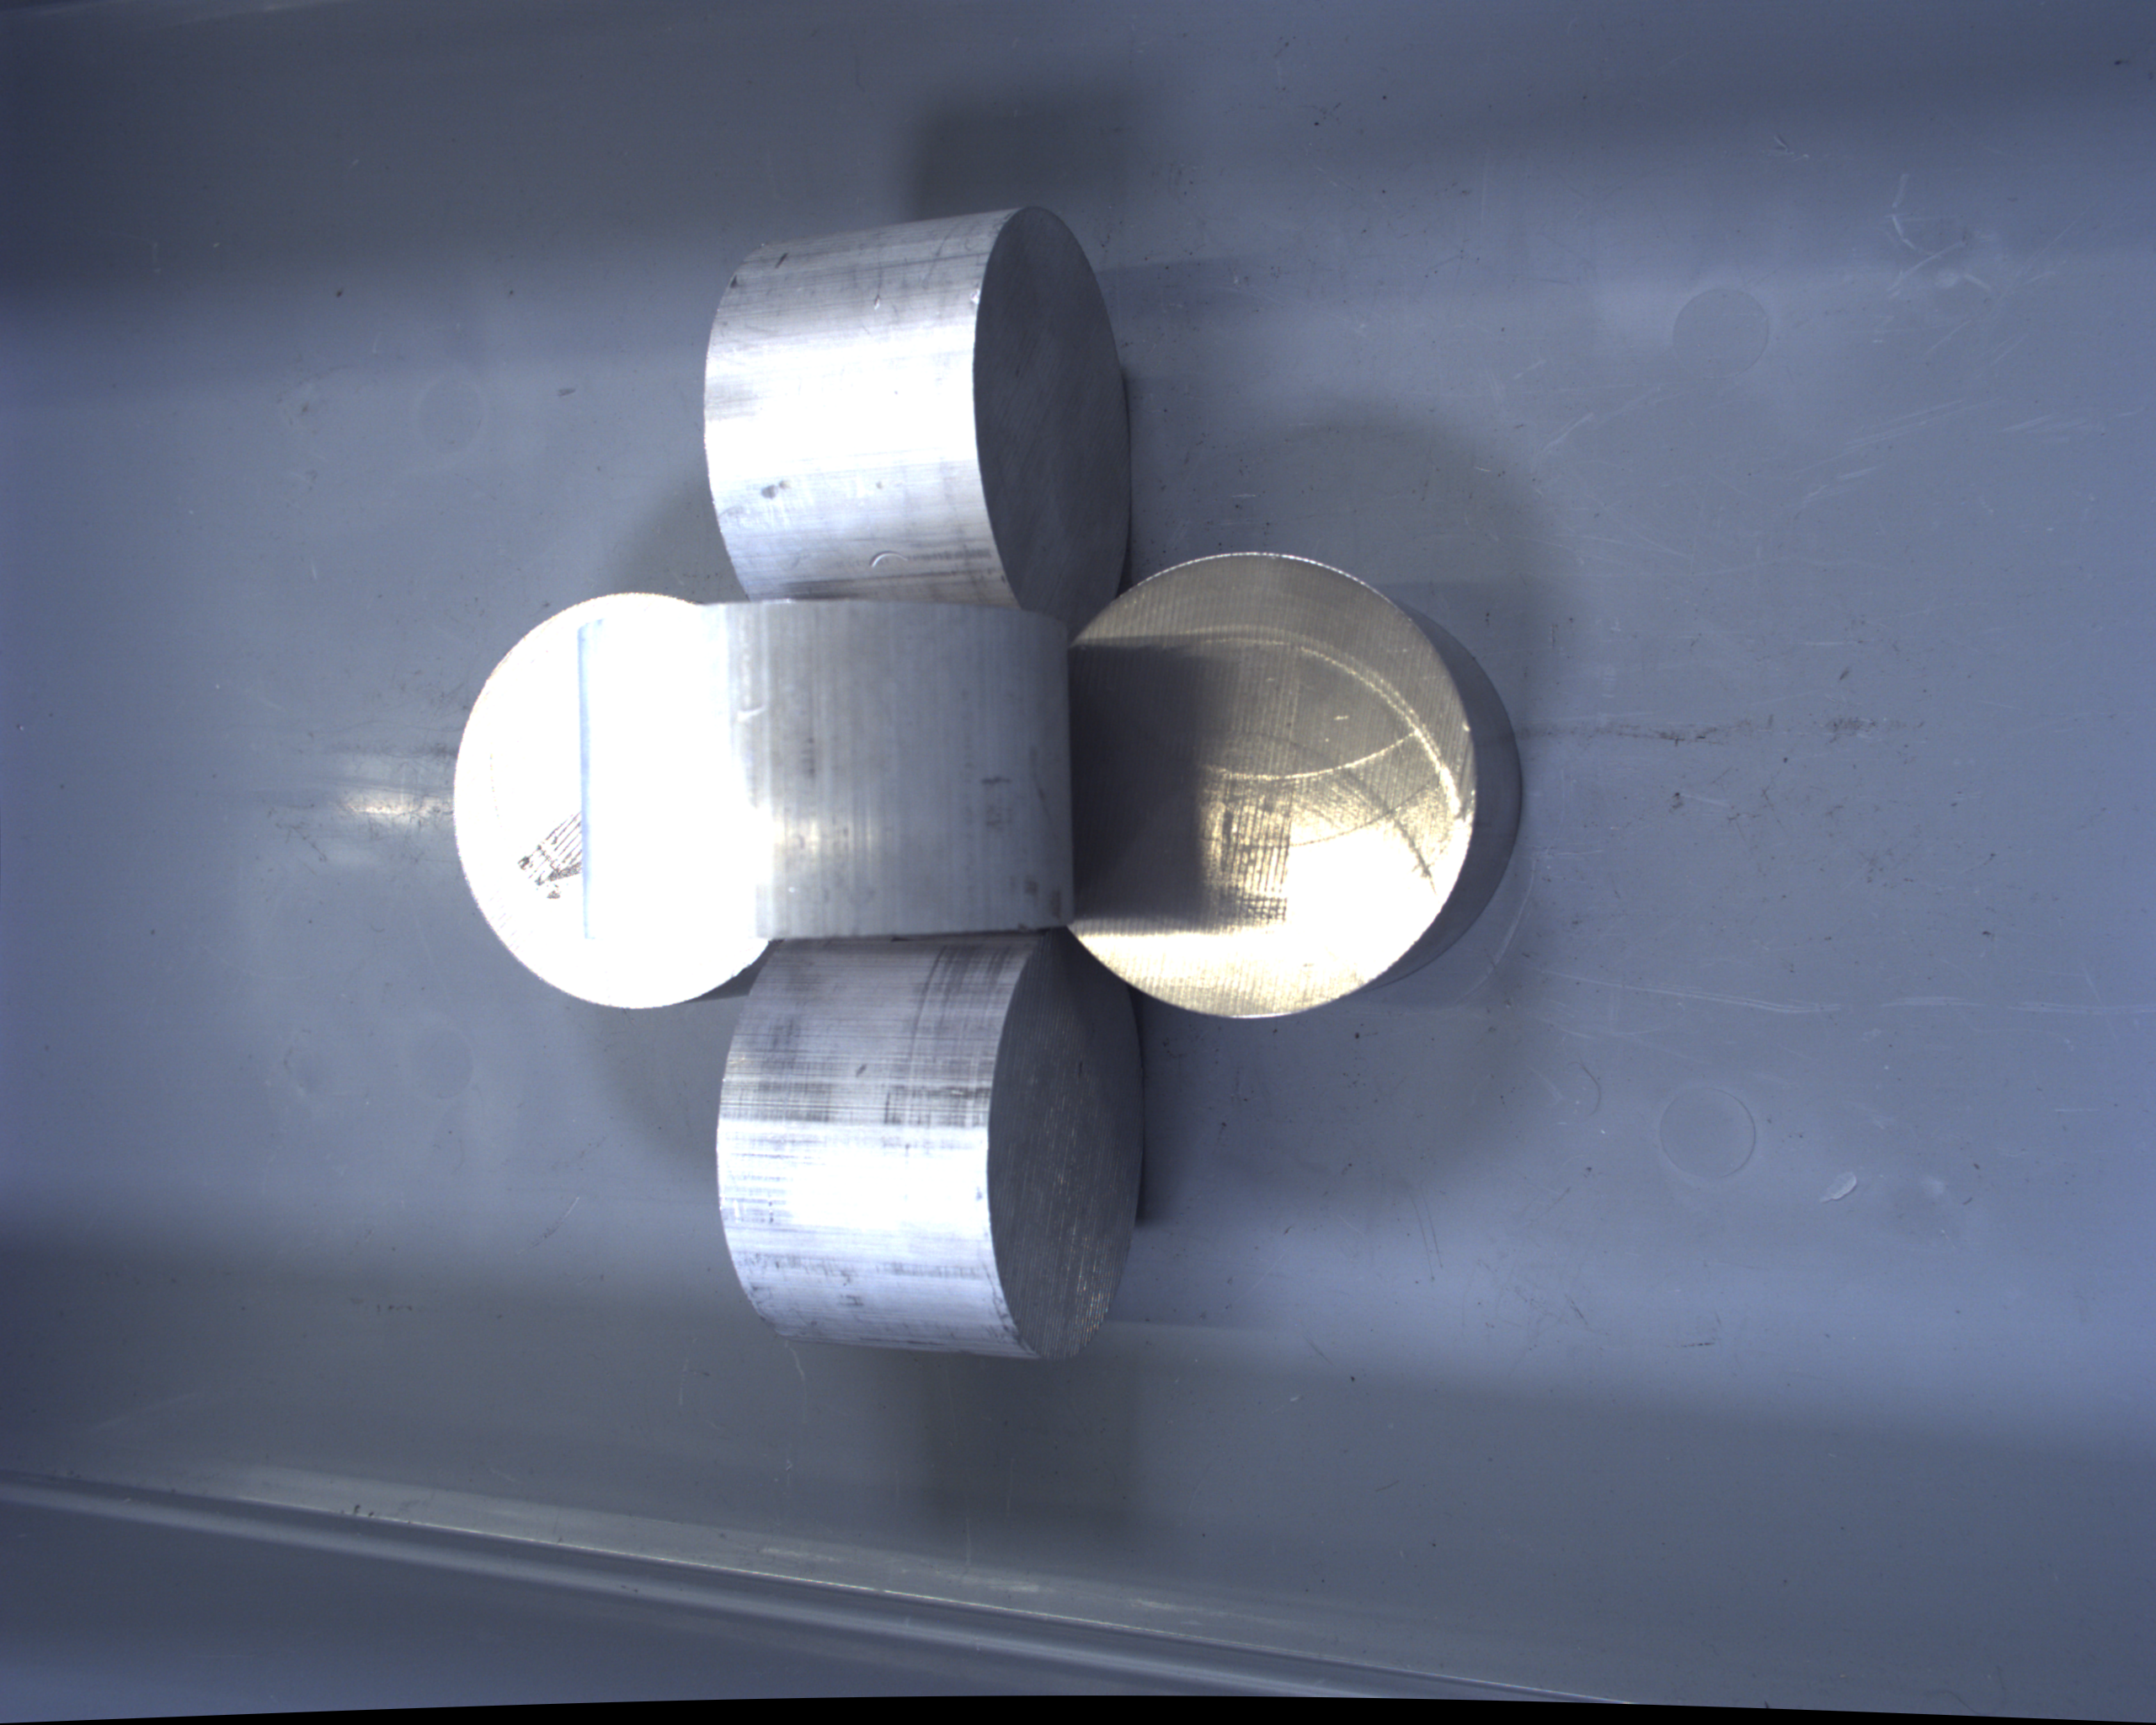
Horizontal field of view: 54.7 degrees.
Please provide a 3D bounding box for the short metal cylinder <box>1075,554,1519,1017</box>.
[{"bbox_3d":[0.036,-0.013,0.382,0.080,0.050,0.080,0,90,20],"label":"short metal cylinder"}]

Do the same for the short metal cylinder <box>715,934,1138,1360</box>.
[{"bbox_3d":[-0.025,0.050,0.388,0.050,0.080,0.080,-2,90,19],"label":"short metal cylinder"}]

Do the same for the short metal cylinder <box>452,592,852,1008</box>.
[{"bbox_3d":[-0.077,-0.012,0.423,0.080,0.050,0.080,0,90,20],"label":"short metal cylinder"}]

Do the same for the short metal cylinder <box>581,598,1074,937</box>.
[{"bbox_3d":[-0.041,-0.014,0.347,0.080,0.080,0.050,-1,90,20],"label":"short metal cylinder"}]

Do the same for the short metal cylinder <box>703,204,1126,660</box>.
[{"bbox_3d":[-0.027,-0.078,0.389,0.050,0.080,0.080,-2,90,19],"label":"short metal cylinder"}]
